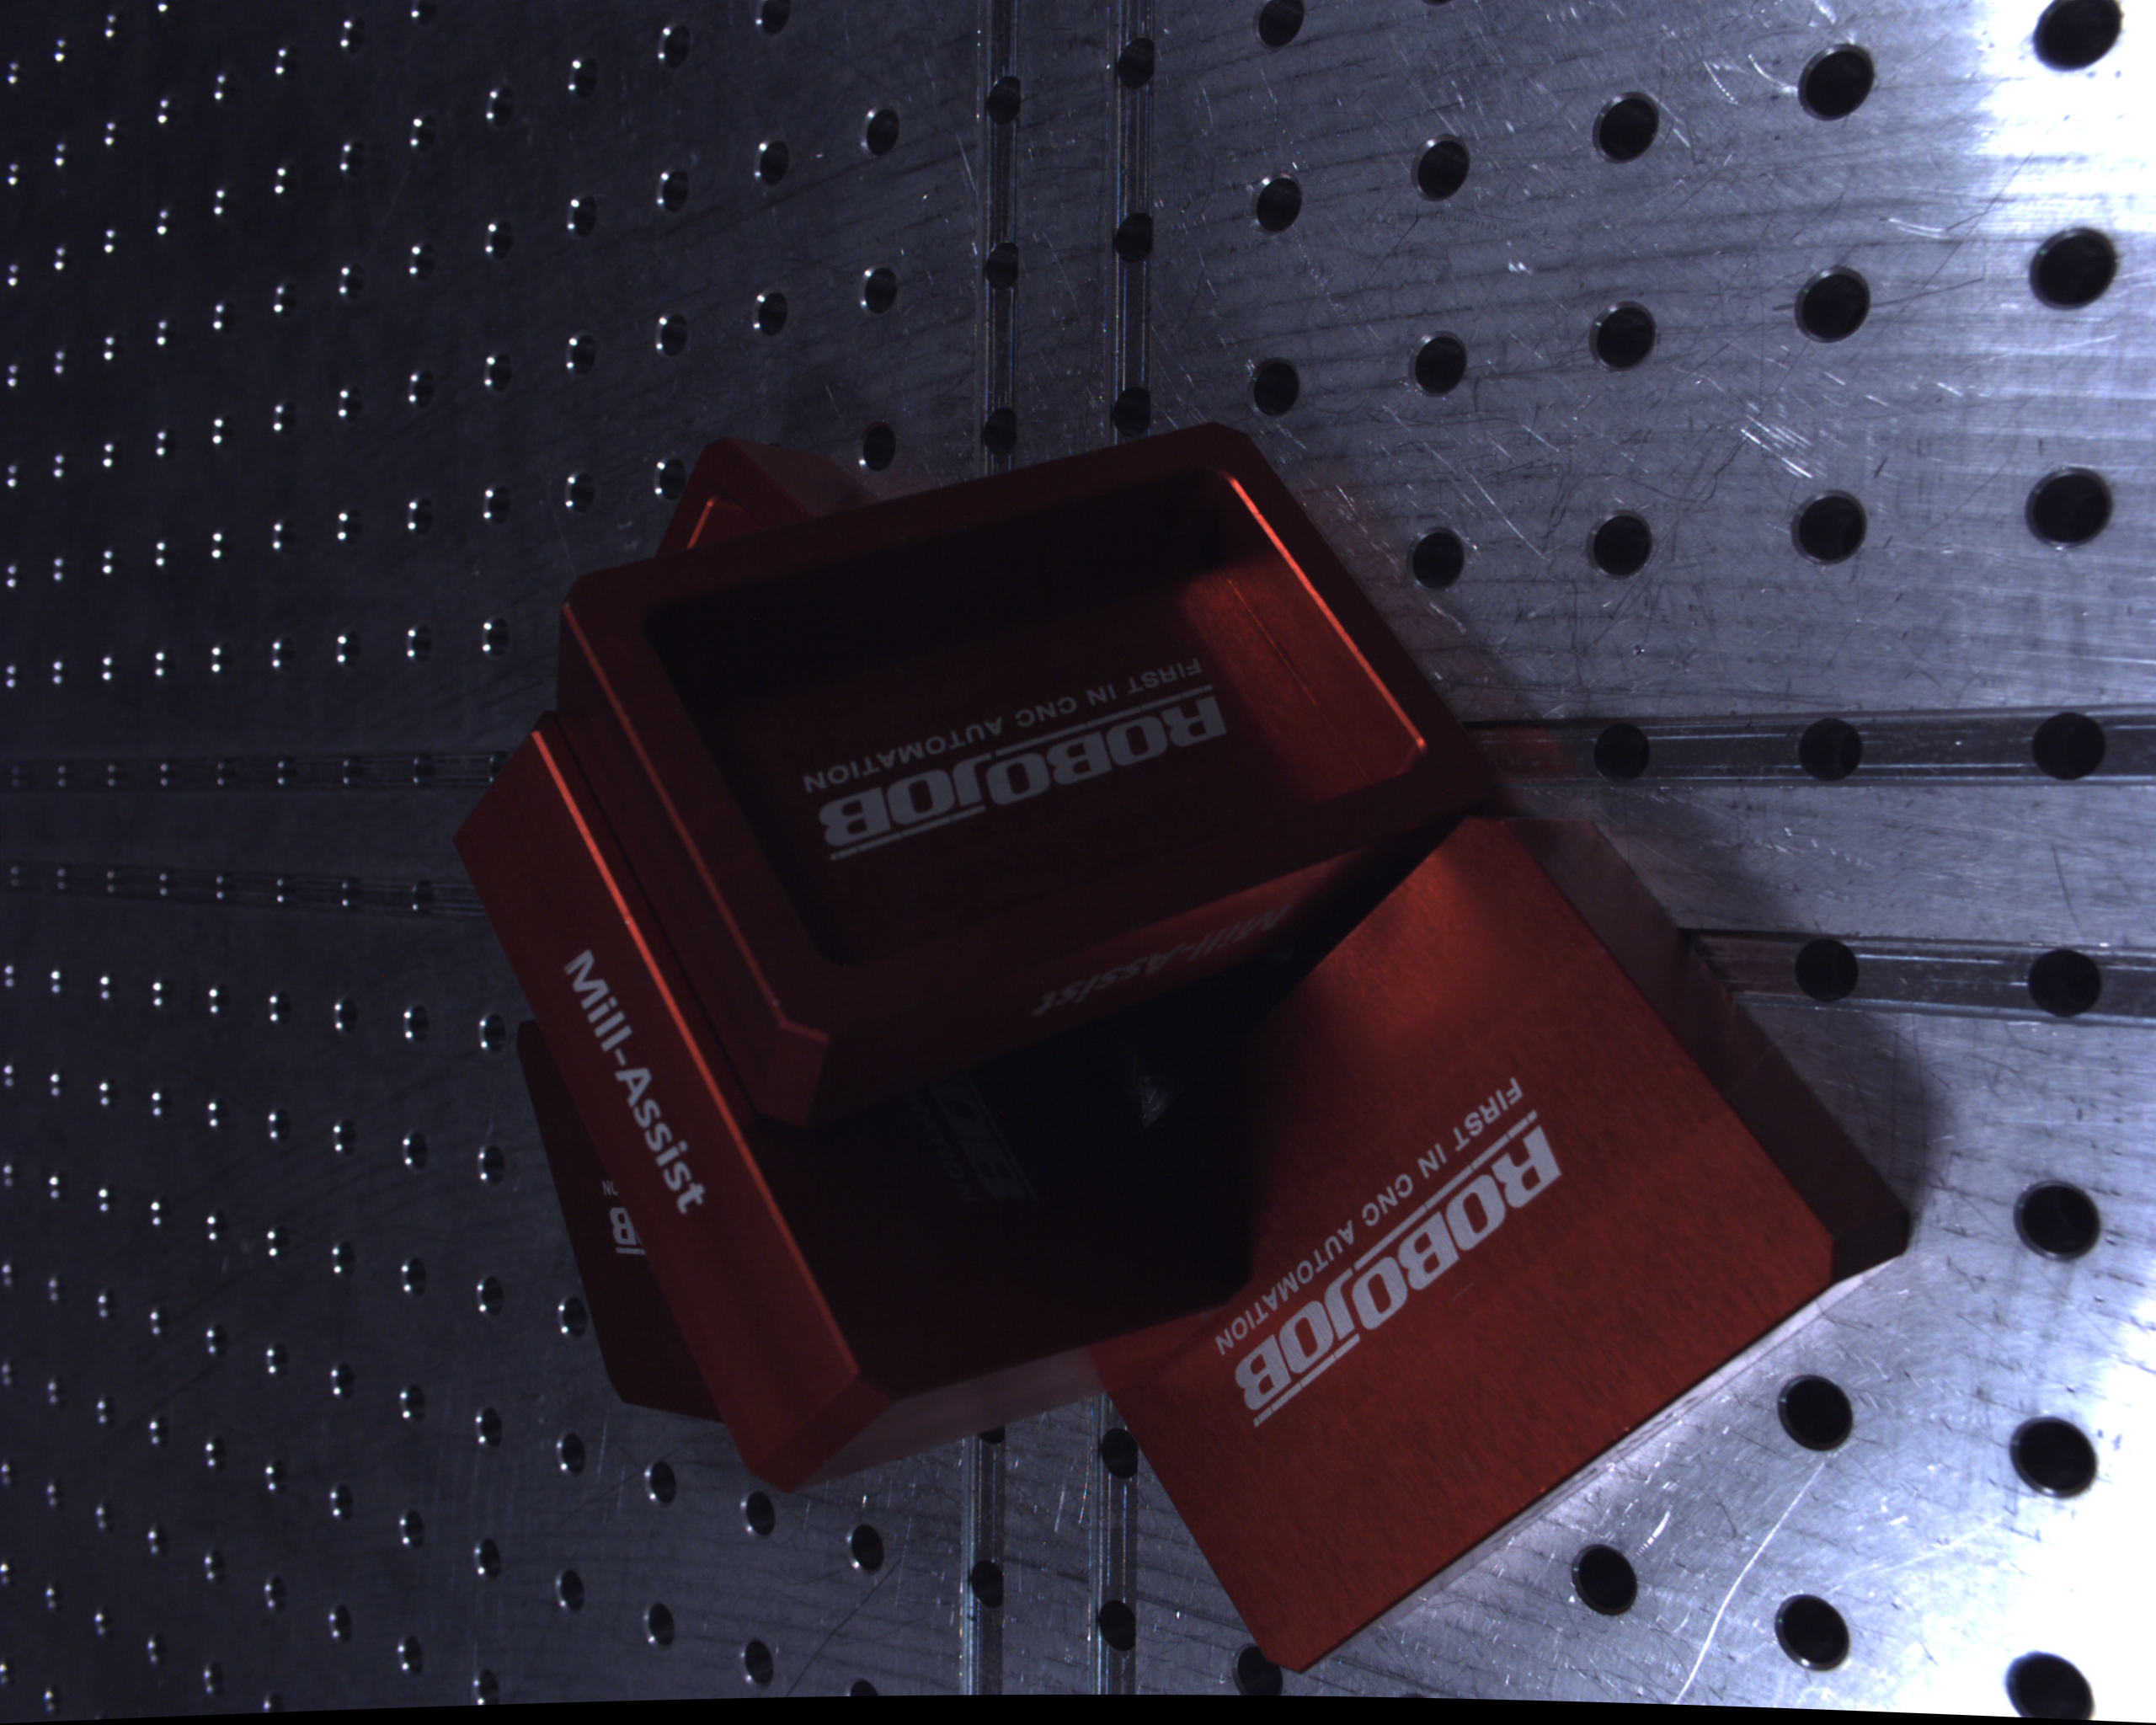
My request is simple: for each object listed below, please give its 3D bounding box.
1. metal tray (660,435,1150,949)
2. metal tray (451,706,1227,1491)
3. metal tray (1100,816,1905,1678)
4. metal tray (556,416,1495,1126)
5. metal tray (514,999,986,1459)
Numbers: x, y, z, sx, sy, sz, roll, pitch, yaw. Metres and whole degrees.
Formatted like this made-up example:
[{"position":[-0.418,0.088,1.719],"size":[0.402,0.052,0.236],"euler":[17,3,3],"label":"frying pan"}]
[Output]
[{"position":[-0.049,-0.020,0.444],"size":[0.130,0.030,0.089],"euler":[43,116,31],"label":"metal tray"},{"position":[-0.040,0.033,0.358],"size":[0.030,0.091,0.130],"euler":[-46,63,30],"label":"metal tray"},{"position":[0.059,0.065,0.355],"size":[0.129,0.030,0.090],"euler":[-48,62,29],"label":"metal tray"},{"position":[-0.008,-0.021,0.346],"size":[0.090,0.131,0.030],"euler":[59,151,23],"label":"metal tray"},{"position":[-0.068,0.069,0.429],"size":[0.130,0.030,0.089],"euler":[-12,93,54],"label":"metal tray"}]
